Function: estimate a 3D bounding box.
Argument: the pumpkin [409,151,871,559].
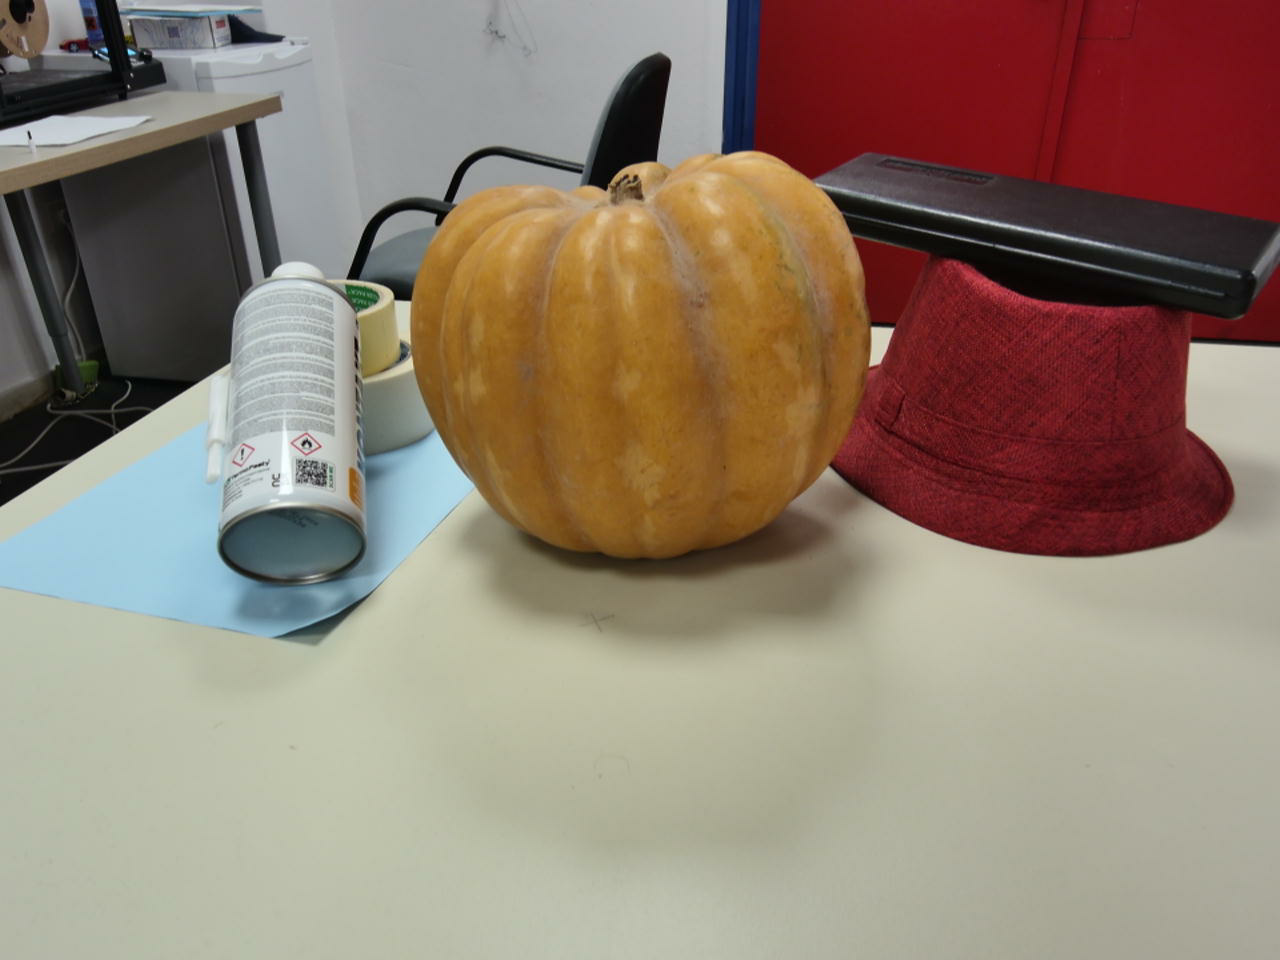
[{"bbox_3d":[0.003,-0.064,0.509,0.230,0.194,0.230,0,26,0],"label":"pumpkin"}]
